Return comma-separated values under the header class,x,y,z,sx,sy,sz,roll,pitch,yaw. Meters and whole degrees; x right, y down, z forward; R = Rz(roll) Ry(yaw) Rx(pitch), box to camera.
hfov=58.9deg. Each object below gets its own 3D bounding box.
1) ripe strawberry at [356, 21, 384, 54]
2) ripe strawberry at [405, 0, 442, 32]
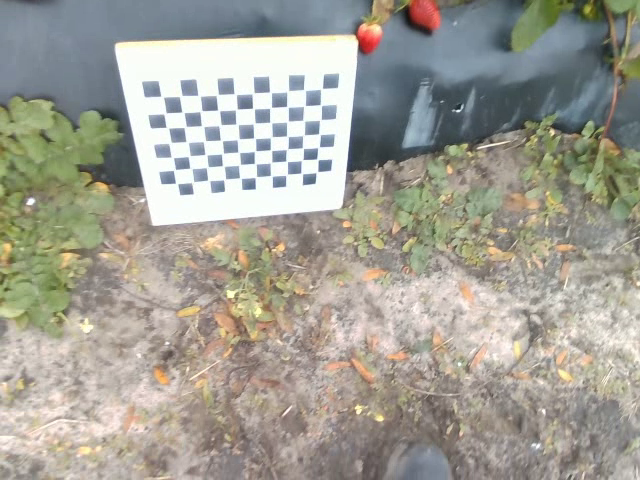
class,x,y,z,sx,sy,sz,roll,pitch,yaw
ripe strawberry,0.066,-0.265,0.730,0.036,0.041,0.028,0,24,-2
ripe strawberry,0.138,-0.301,0.734,0.044,0.059,0.042,-34,19,31
